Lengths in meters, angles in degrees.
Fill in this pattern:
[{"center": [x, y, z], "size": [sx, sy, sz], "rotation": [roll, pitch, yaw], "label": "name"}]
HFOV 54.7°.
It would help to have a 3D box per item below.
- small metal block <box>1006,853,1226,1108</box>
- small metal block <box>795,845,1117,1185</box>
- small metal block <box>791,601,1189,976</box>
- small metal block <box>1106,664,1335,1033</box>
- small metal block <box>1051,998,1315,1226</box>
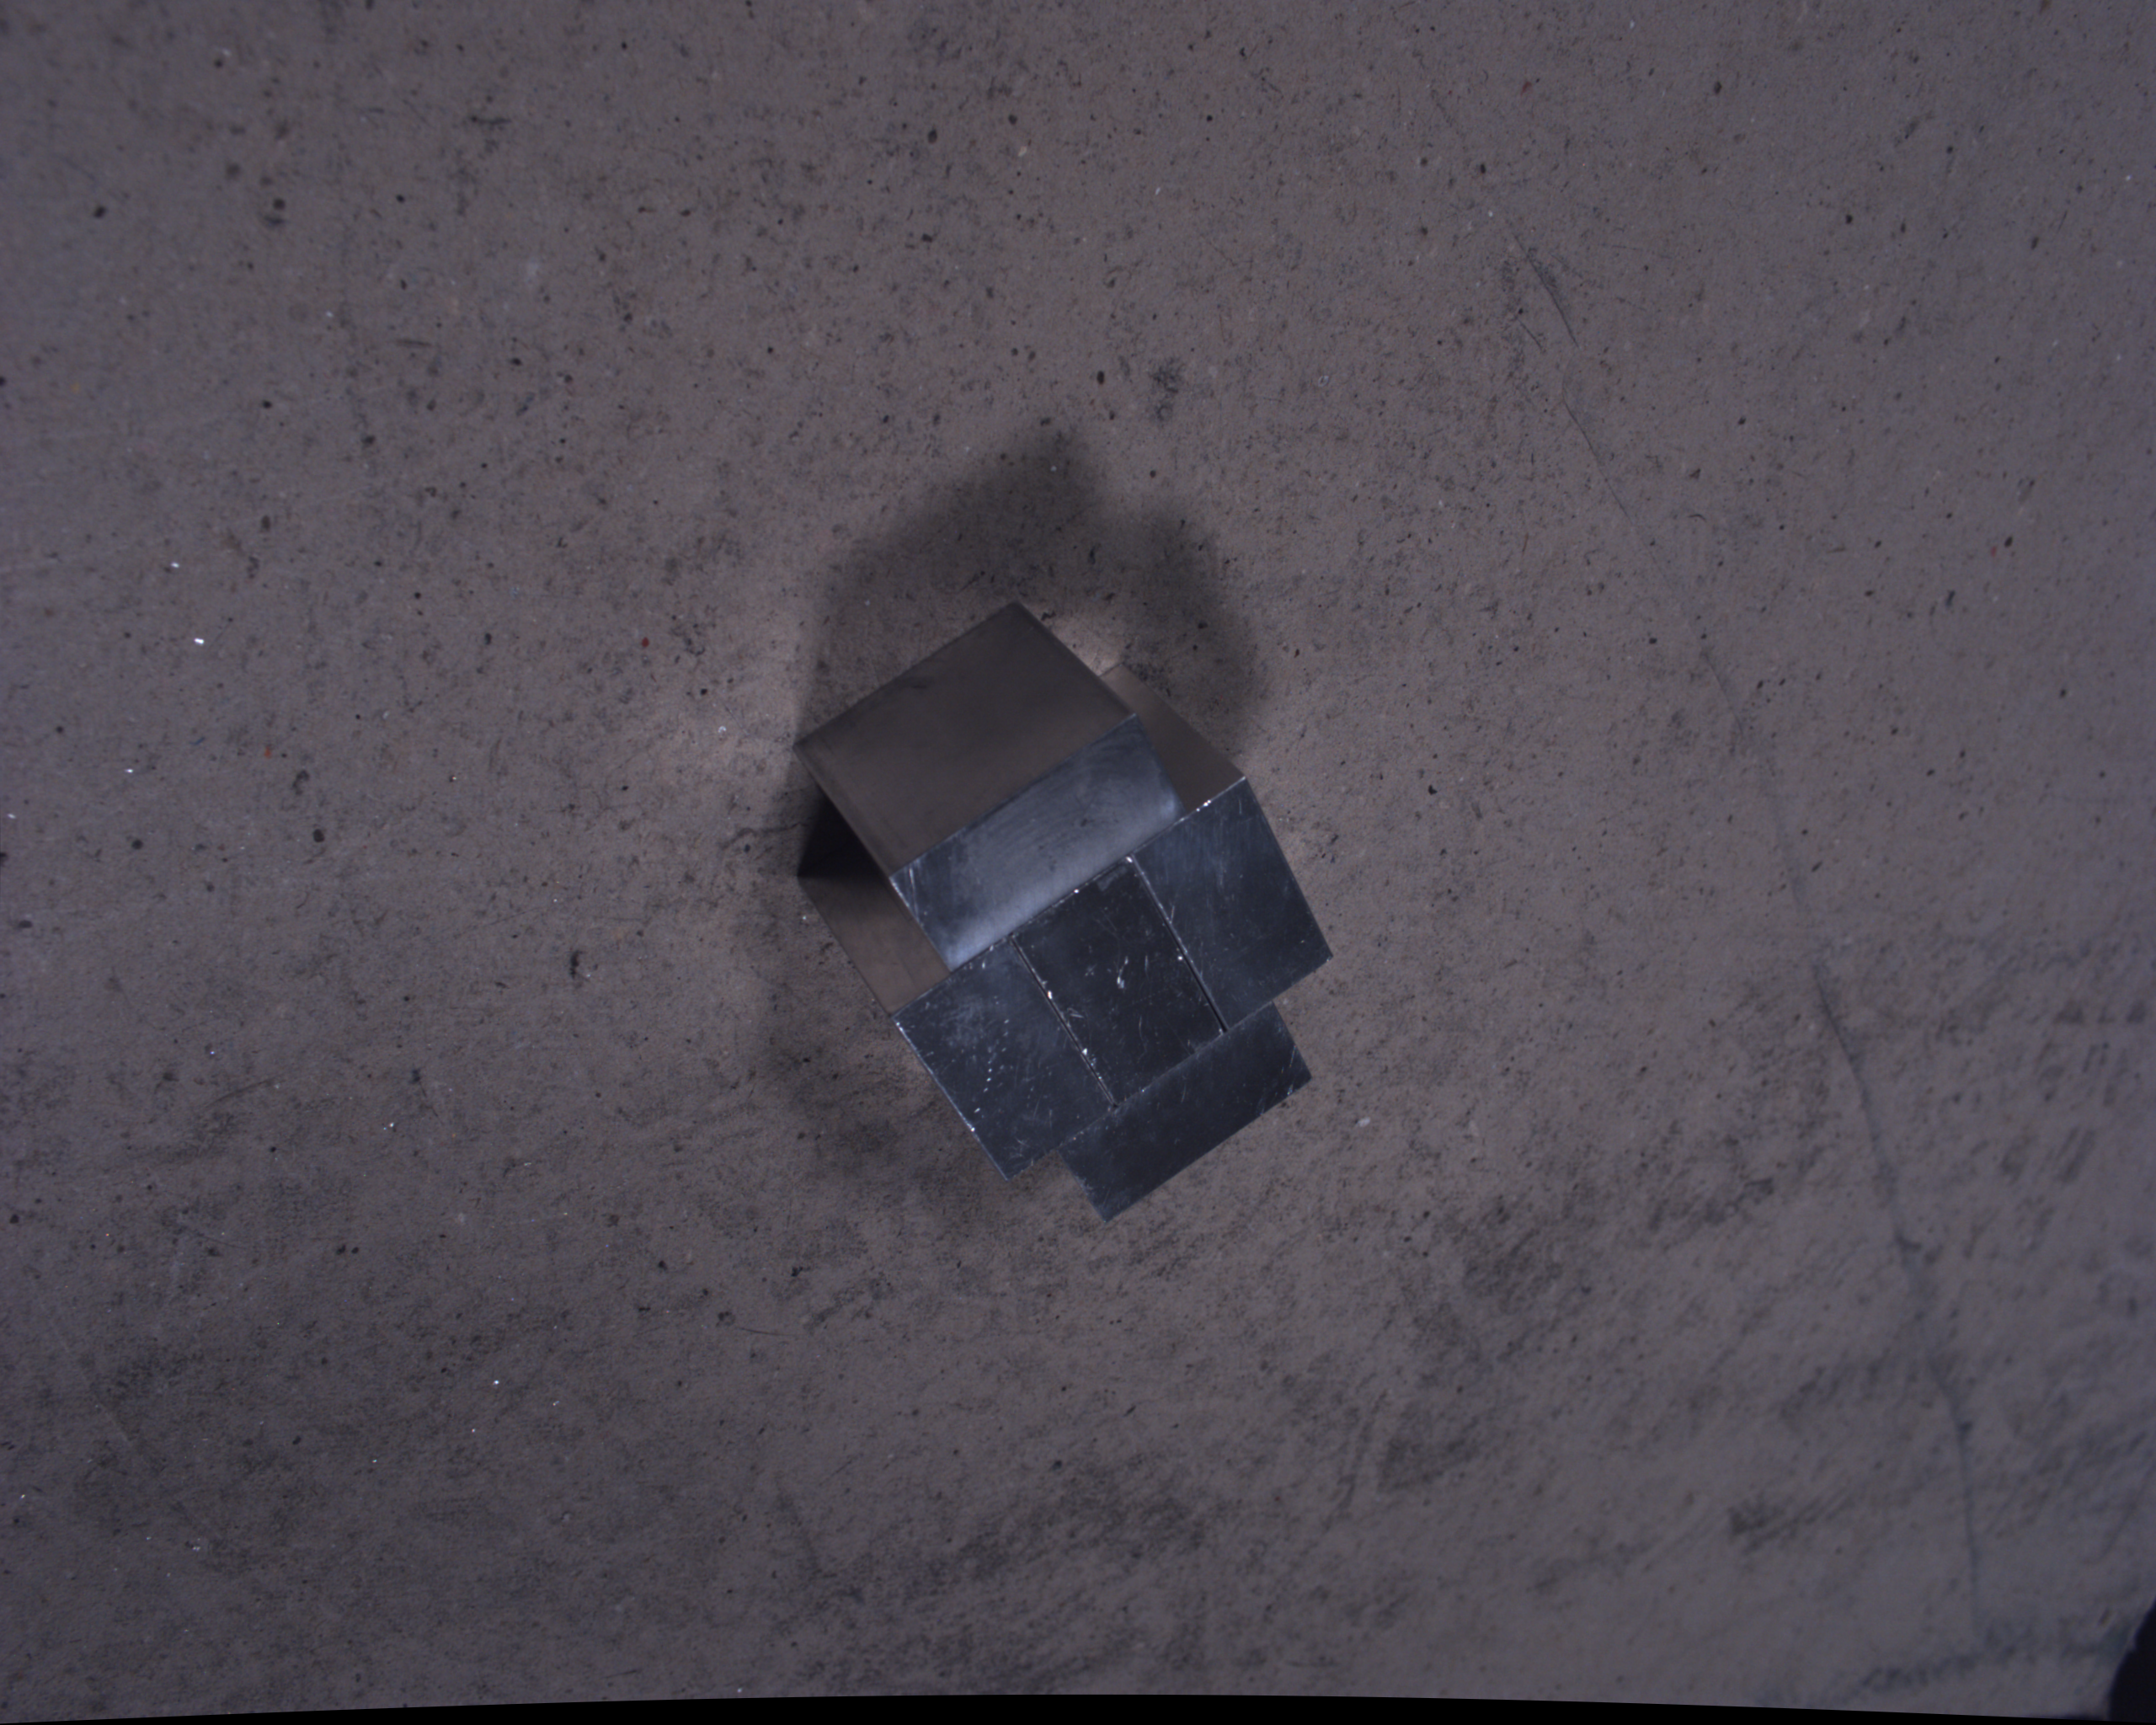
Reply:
[{"center": [-0.003, 0.011, 0.398], "size": [0.025, 0.050, 0.050], "rotation": [-35, 129, -6], "label": "small metal block"}, {"center": [-0.023, 0.025, 0.395], "size": [0.025, 0.050, 0.050], "rotation": [-35, 129, -6], "label": "small metal block"}, {"center": [-0.017, -0.015, 0.375], "size": [0.050, 0.050, 0.025], "rotation": [-34, 129, -6], "label": "small metal block"}, {"center": [0.018, -0.003, 0.401], "size": [0.025, 0.050, 0.050], "rotation": [-35, 129, -5], "label": "small metal block"}, {"center": [0.011, 0.037, 0.422], "size": [0.050, 0.050, 0.025], "rotation": [-34, 129, -6], "label": "small metal block"}]
